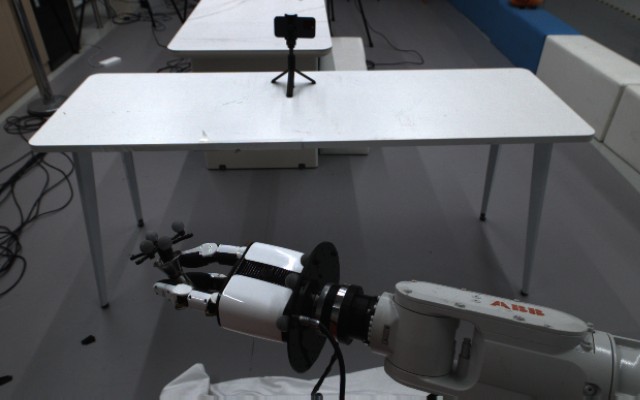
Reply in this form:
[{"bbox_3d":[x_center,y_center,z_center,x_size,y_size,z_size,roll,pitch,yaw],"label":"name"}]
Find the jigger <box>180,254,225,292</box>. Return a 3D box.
[{"bbox_3d":[-0.185,0.106,0.652,0.043,0.071,0.043,-22,16,6],"label":"jigger"}]
